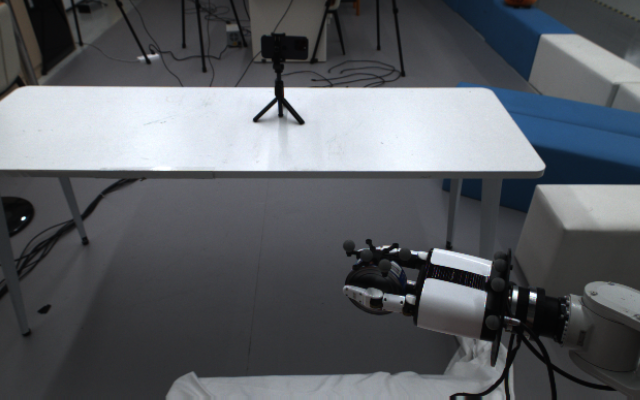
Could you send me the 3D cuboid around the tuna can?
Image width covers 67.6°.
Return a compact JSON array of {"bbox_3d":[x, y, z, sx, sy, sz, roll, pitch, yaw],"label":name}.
[{"bbox_3d":[0.084,0.119,0.698,0.085,0.085,0.034,13,29,16],"label":"tuna can"}]
